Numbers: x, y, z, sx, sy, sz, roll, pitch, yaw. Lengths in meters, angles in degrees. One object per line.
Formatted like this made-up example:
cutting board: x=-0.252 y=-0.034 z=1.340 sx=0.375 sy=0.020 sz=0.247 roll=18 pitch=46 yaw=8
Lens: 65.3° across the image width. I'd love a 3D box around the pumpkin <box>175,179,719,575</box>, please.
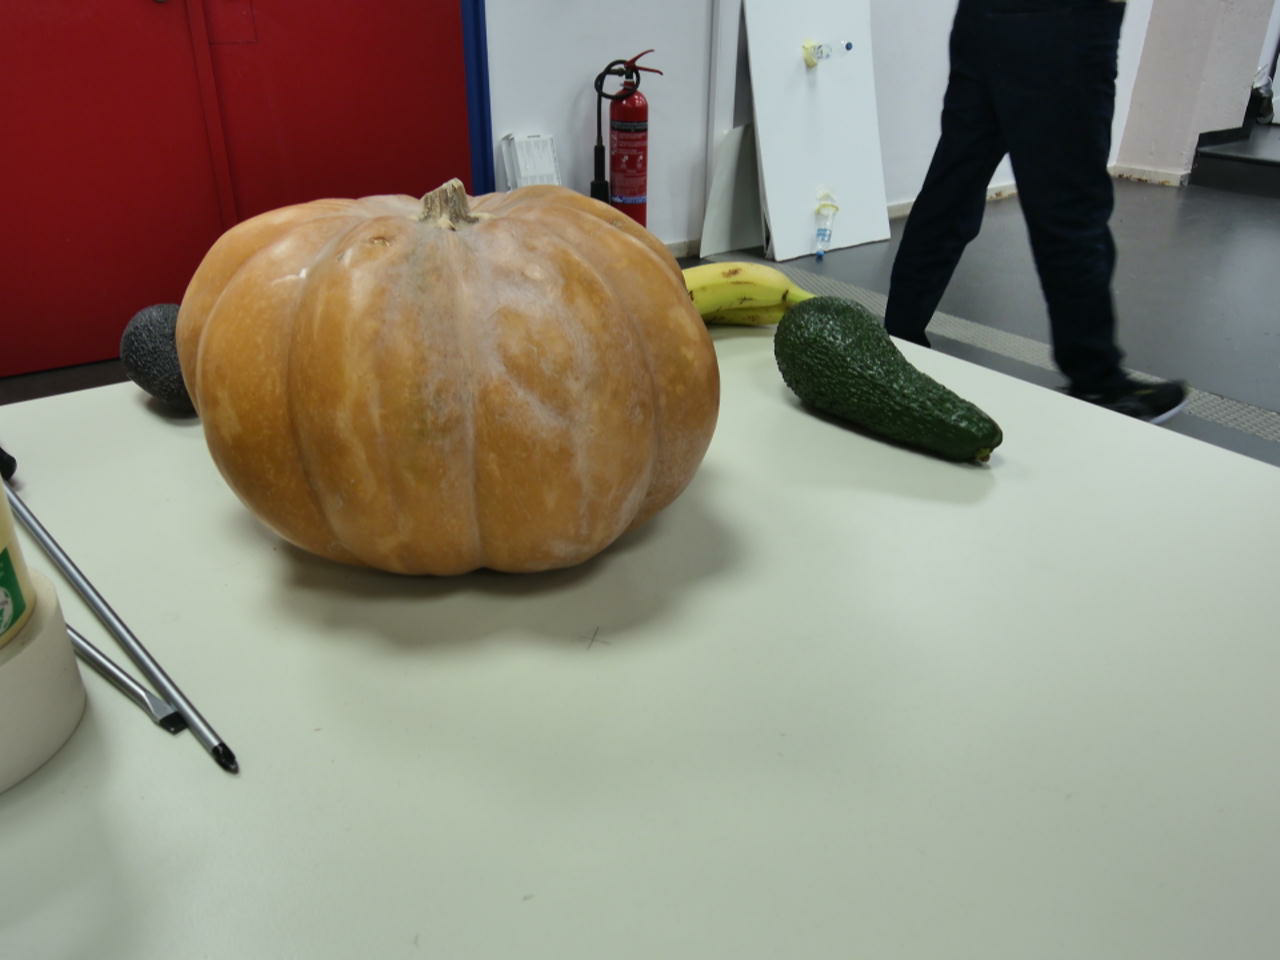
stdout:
pumpkin: x=-0.091 y=-0.058 z=0.510 sx=0.277 sy=0.181 sz=0.277 roll=0 pitch=25 yaw=0
